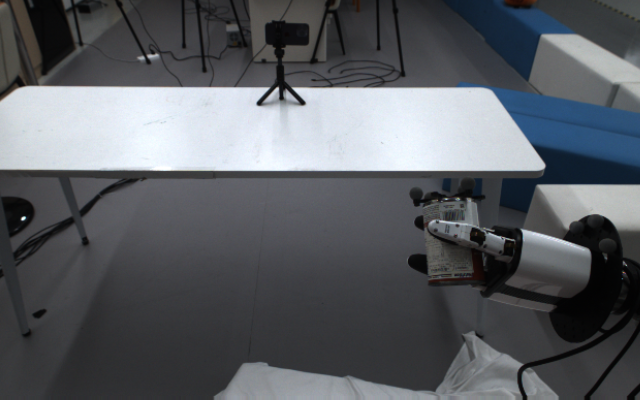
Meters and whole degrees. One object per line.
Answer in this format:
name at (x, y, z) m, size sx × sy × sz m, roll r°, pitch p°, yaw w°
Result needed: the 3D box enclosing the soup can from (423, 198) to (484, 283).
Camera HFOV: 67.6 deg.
soup can at (0.164, 0.050, 0.596) m, size 0.067 × 0.067 × 0.101 m, roll 0°, pitch 75°, yaw -3°
